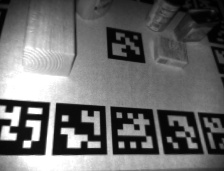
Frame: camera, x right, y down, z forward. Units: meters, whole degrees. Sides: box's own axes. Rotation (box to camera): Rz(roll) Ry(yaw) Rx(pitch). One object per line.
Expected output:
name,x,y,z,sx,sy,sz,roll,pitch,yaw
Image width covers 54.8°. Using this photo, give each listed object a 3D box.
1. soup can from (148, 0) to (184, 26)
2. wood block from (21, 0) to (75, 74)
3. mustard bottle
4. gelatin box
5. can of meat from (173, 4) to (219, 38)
soup can,0.150,-0.220,0.592,0.068,0.102,0.067,7,63,-14
wood block,-0.131,-0.139,0.471,0.092,0.089,0.205,7,58,-17
mustard bottle,-0.029,-0.245,0.506,0.097,0.191,0.058,-20,70,-27
gelatin box,0.163,-0.097,0.581,0.090,0.030,0.073,14,62,-9
can of meat,0.239,-0.184,0.626,0.103,0.083,0.057,-8,67,-24
